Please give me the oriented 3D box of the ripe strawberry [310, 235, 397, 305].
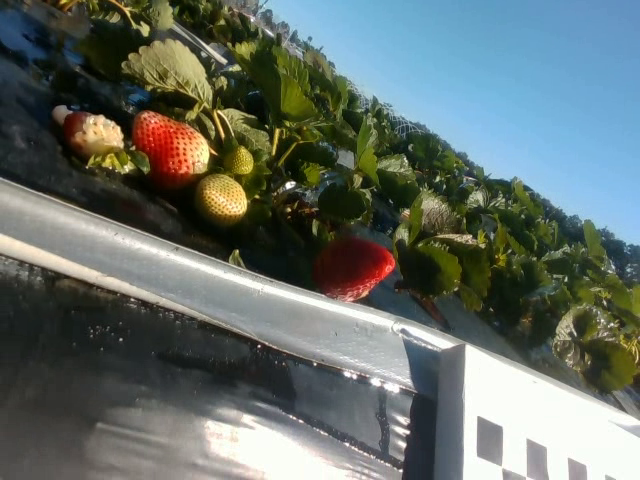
[{"bbox_3d":[0.016,0.012,0.262,0.036,0.038,0.045,25,-21,-26],"label":"ripe strawberry"}]
